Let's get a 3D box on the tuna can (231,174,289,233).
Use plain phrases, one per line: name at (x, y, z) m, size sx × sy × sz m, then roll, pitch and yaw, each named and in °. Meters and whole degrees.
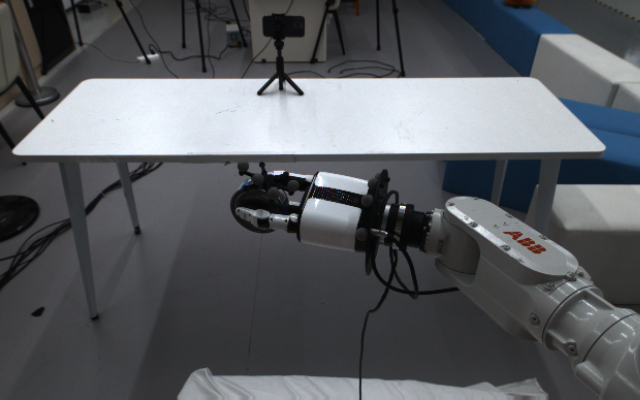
tuna can at (-0.092, 0.009, 0.749) m, size 0.085 × 0.085 × 0.034 m, roll 9°, pitch 35°, yaw 10°
